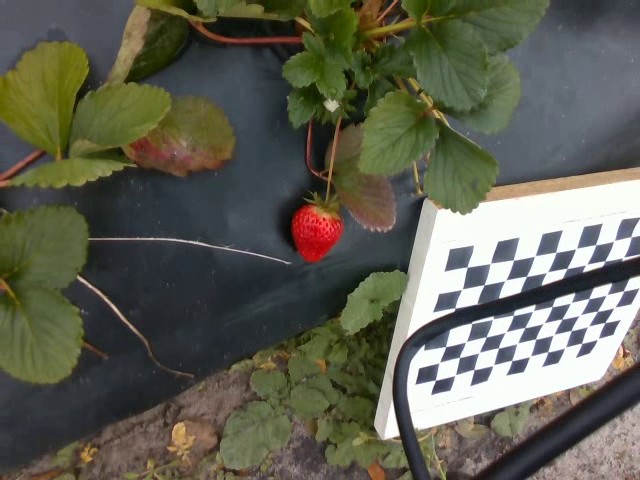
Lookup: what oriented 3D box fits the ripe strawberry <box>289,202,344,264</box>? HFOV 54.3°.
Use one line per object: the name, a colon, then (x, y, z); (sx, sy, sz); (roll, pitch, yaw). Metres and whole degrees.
ripe strawberry: (-0.002, -0.002, 0.296); (0.028, 0.033, 0.023); (8, 28, -25)
